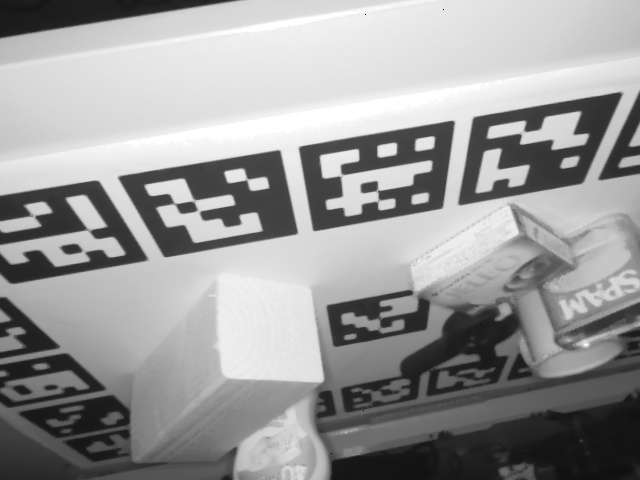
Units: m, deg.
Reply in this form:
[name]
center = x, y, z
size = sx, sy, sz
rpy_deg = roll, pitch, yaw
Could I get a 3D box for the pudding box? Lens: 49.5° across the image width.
[pudding box]
center = 0.155, 0.021, 0.598
size = 0.112, 0.039, 0.091
rpy_deg = -34, 137, 30

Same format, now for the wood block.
[wood block]
center = -0.085, 0.116, 0.626
size = 0.091, 0.091, 0.203
rpy_deg = 15, 138, -32

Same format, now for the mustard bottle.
[mustard bottle]
center = -0.029, 0.215, 0.676
size = 0.096, 0.192, 0.058
rpy_deg = -12, 142, 2

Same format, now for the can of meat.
[can of meat]
center = 0.257, 0.040, 0.602
size = 0.100, 0.084, 0.058
rpy_deg = -28, 138, 22

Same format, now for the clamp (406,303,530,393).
[clamp]
center = 0.172, 0.116, 0.735
size = 0.123, 0.037, 0.163
rpy_deg = 4, 139, -16

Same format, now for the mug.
[mug]
center = 0.250, 0.083, 0.705
size = 0.094, 0.082, 0.115
rpy_deg = 5, 139, -19
